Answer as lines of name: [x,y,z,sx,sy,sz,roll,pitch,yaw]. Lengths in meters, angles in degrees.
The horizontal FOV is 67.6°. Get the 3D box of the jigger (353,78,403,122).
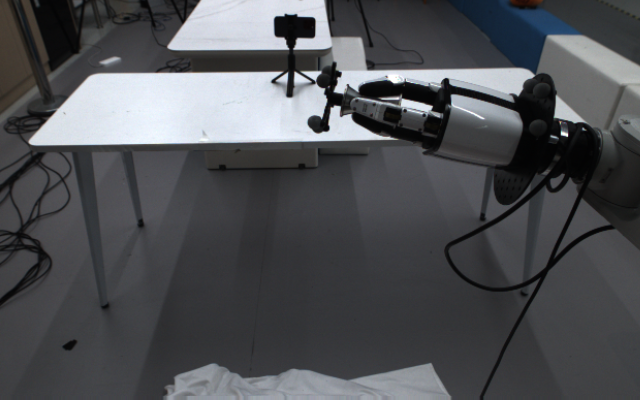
jigger: [0.068,-0.117,0.589,0.071,0.043,0.043,12,36,5]
